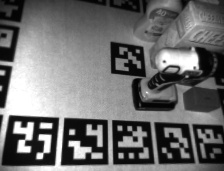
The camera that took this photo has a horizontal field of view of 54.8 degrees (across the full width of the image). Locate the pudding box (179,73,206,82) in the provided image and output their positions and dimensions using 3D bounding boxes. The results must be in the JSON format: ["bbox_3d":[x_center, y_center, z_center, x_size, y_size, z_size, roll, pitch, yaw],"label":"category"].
[{"bbox_3d":[0.205,-0.050,0.582,0.114,0.090,0.038,5,66,-12],"label":"pudding box"}]

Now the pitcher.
[{"bbox_3d":[0.271,-0.207,0.598,0.190,0.242,0.133,10,67,-10],"label":"pitcher"}]

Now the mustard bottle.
[{"bbox_3d":[0.139,-0.213,0.573,0.097,0.191,0.058,17,66,-9],"label":"mustard bottle"}]

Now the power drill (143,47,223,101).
[{"bbox_3d":[0.163,-0.023,0.482,0.186,0.186,0.057,3,65,-16],"label":"power drill"}]

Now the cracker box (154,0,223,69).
[{"bbox_3d":[0.225,-0.114,0.554,0.165,0.213,0.071,2,67,-13],"label":"cracker box"}]

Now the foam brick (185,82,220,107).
[{"bbox_3d":[0.253,0.026,0.604,0.078,0.051,0.052,7,69,-14],"label":"foam brick"}]
